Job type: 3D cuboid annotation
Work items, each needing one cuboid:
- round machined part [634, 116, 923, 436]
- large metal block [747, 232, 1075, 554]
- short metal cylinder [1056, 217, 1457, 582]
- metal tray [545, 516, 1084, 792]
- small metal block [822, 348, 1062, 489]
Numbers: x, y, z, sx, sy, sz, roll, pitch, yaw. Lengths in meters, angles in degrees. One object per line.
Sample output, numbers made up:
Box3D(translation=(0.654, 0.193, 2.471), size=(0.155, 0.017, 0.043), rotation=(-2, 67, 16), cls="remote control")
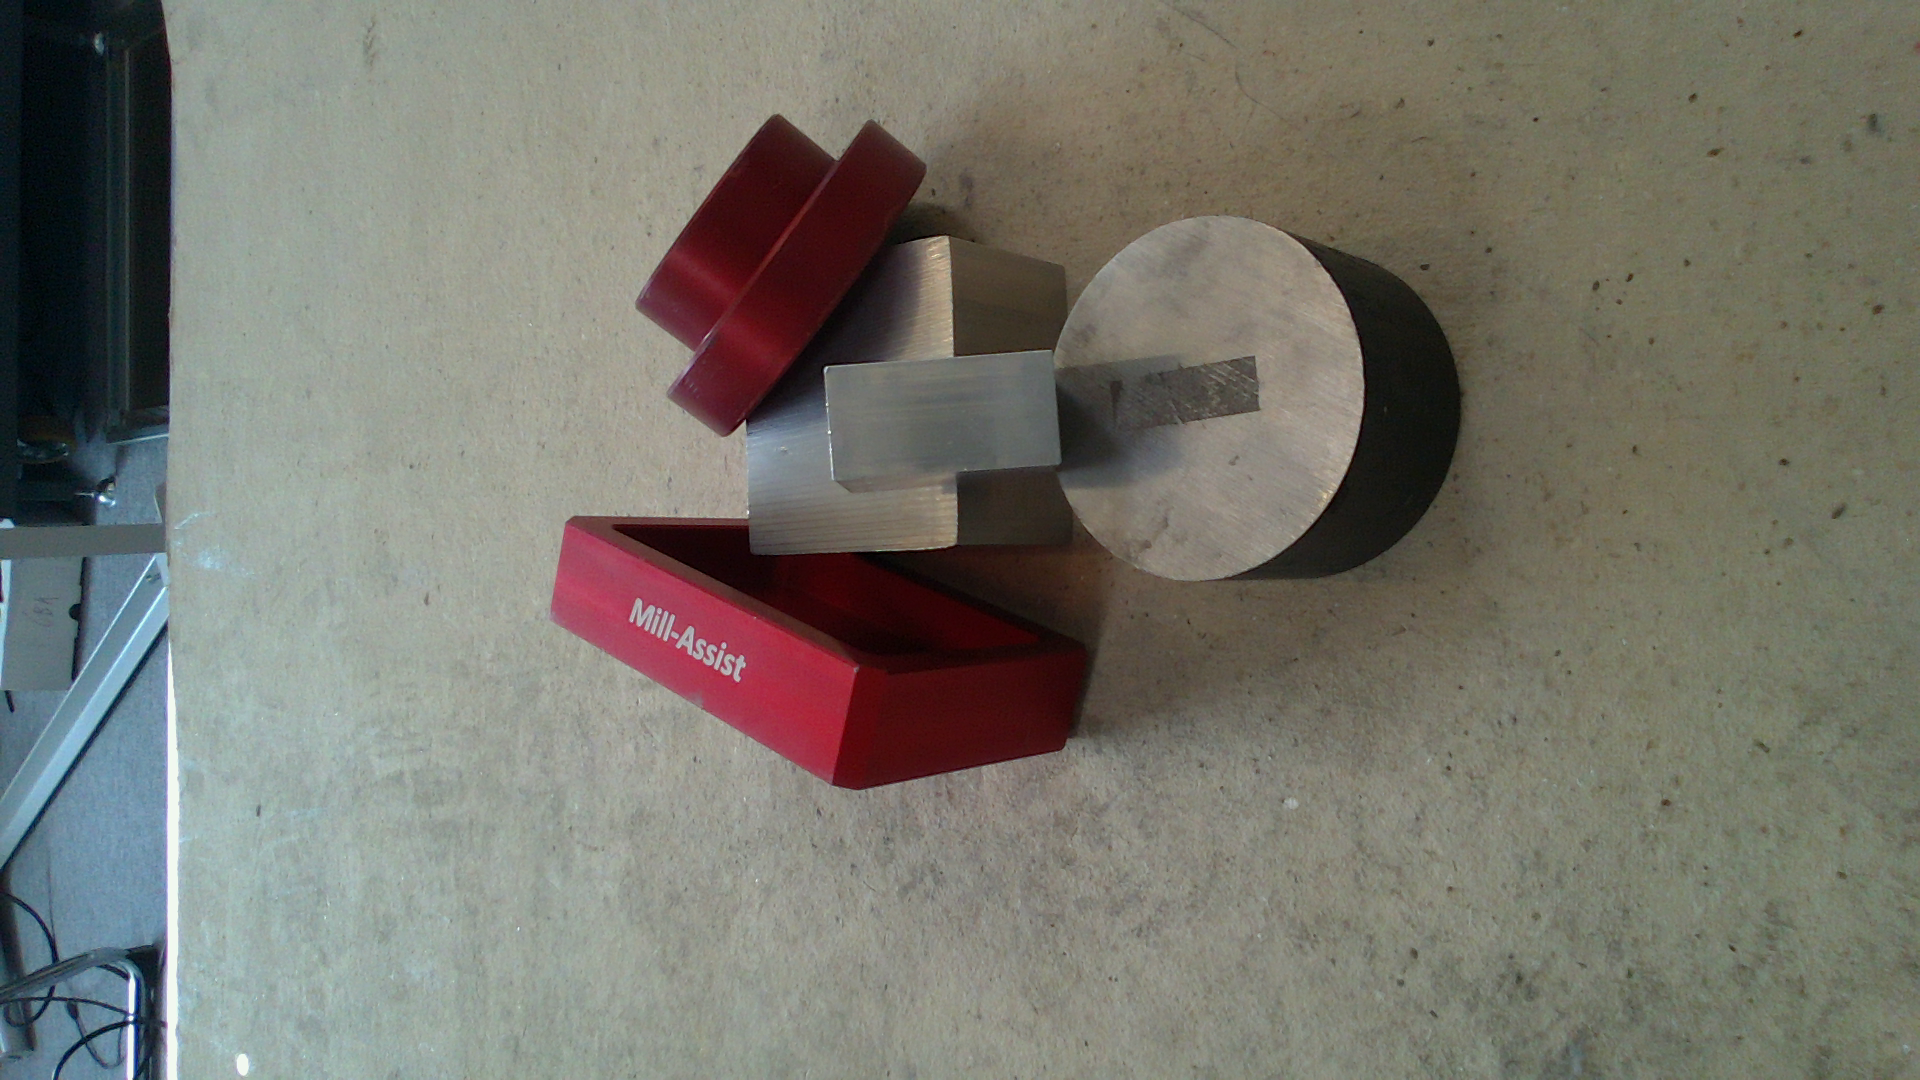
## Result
Box3D(translation=(-0.057, -0.081, 0.394), size=(0.042, 0.098, 0.098), rotation=(36, 122, -15), cls="round machined part")
Box3D(translation=(-0.015, -0.037, 0.393), size=(0.080, 0.050, 0.080), rotation=(-2, 89, 40), cls="large metal block")
Box3D(translation=(0.068, -0.031, 0.323), size=(0.080, 0.050, 0.080), rotation=(0, 90, 40), cls="short metal cylinder")
Box3D(translation=(-0.043, 0.026, 0.388), size=(0.129, 0.090, 0.030), rotation=(22, 104, 38), cls="metal tray")
Box3D(translation=(-0.004, -0.027, 0.322), size=(0.050, 0.050, 0.025), rotation=(-5, 89, -1), cls="small metal block")
